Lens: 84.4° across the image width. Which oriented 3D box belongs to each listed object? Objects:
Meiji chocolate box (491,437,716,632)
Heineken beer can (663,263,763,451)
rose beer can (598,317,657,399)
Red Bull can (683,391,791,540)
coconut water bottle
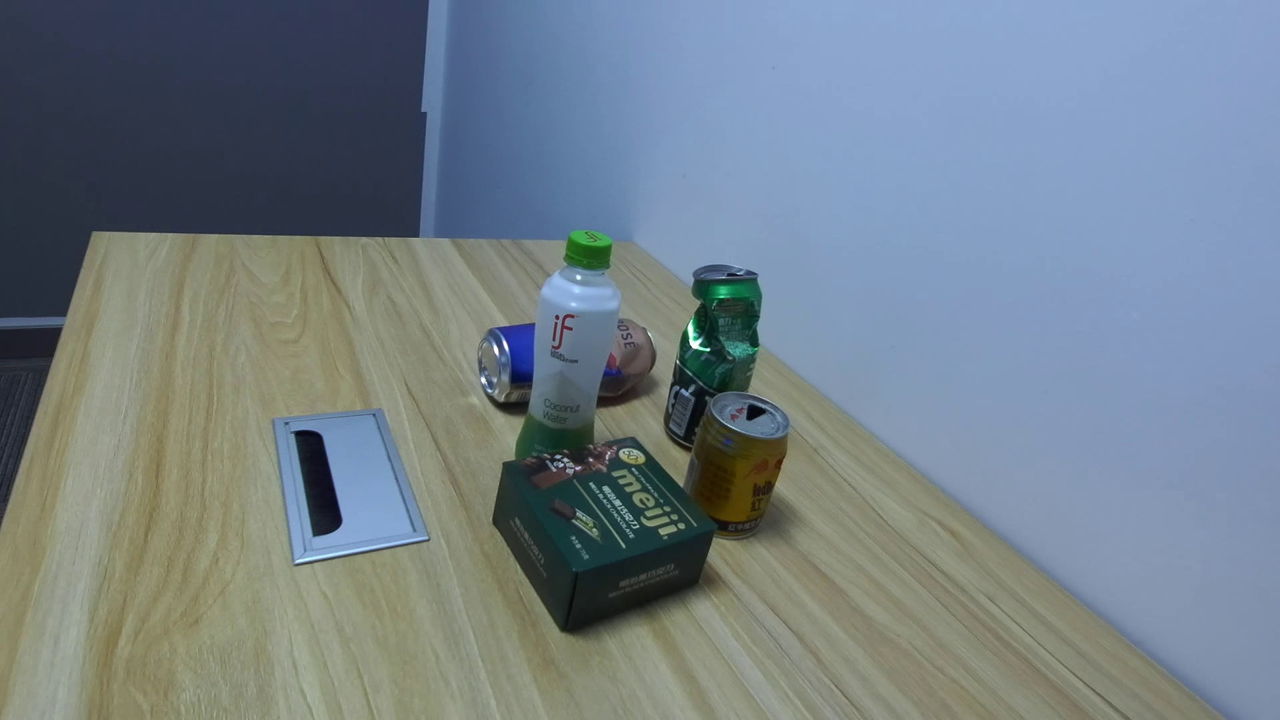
[{"bbox_3d":[-0.025,0.111,0.475,0.109,0.056,0.109,-8,33,-34],"label":"Meiji chocolate box"},{"bbox_3d":[0.067,0.001,0.609,0.078,0.159,0.067,20,21,32],"label":"Heineken beer can"},{"bbox_3d":[-0.065,-0.003,0.663,0.169,0.069,0.069,-9,18,-37],"label":"rose beer can"},{"bbox_3d":[0.071,0.078,0.529,0.069,0.092,0.069,10,28,-5],"label":"Red Bull can"},{"bbox_3d":[-0.051,-0.001,0.523,0.063,0.188,0.063,9,26,-4],"label":"coconut water bottle"}]
